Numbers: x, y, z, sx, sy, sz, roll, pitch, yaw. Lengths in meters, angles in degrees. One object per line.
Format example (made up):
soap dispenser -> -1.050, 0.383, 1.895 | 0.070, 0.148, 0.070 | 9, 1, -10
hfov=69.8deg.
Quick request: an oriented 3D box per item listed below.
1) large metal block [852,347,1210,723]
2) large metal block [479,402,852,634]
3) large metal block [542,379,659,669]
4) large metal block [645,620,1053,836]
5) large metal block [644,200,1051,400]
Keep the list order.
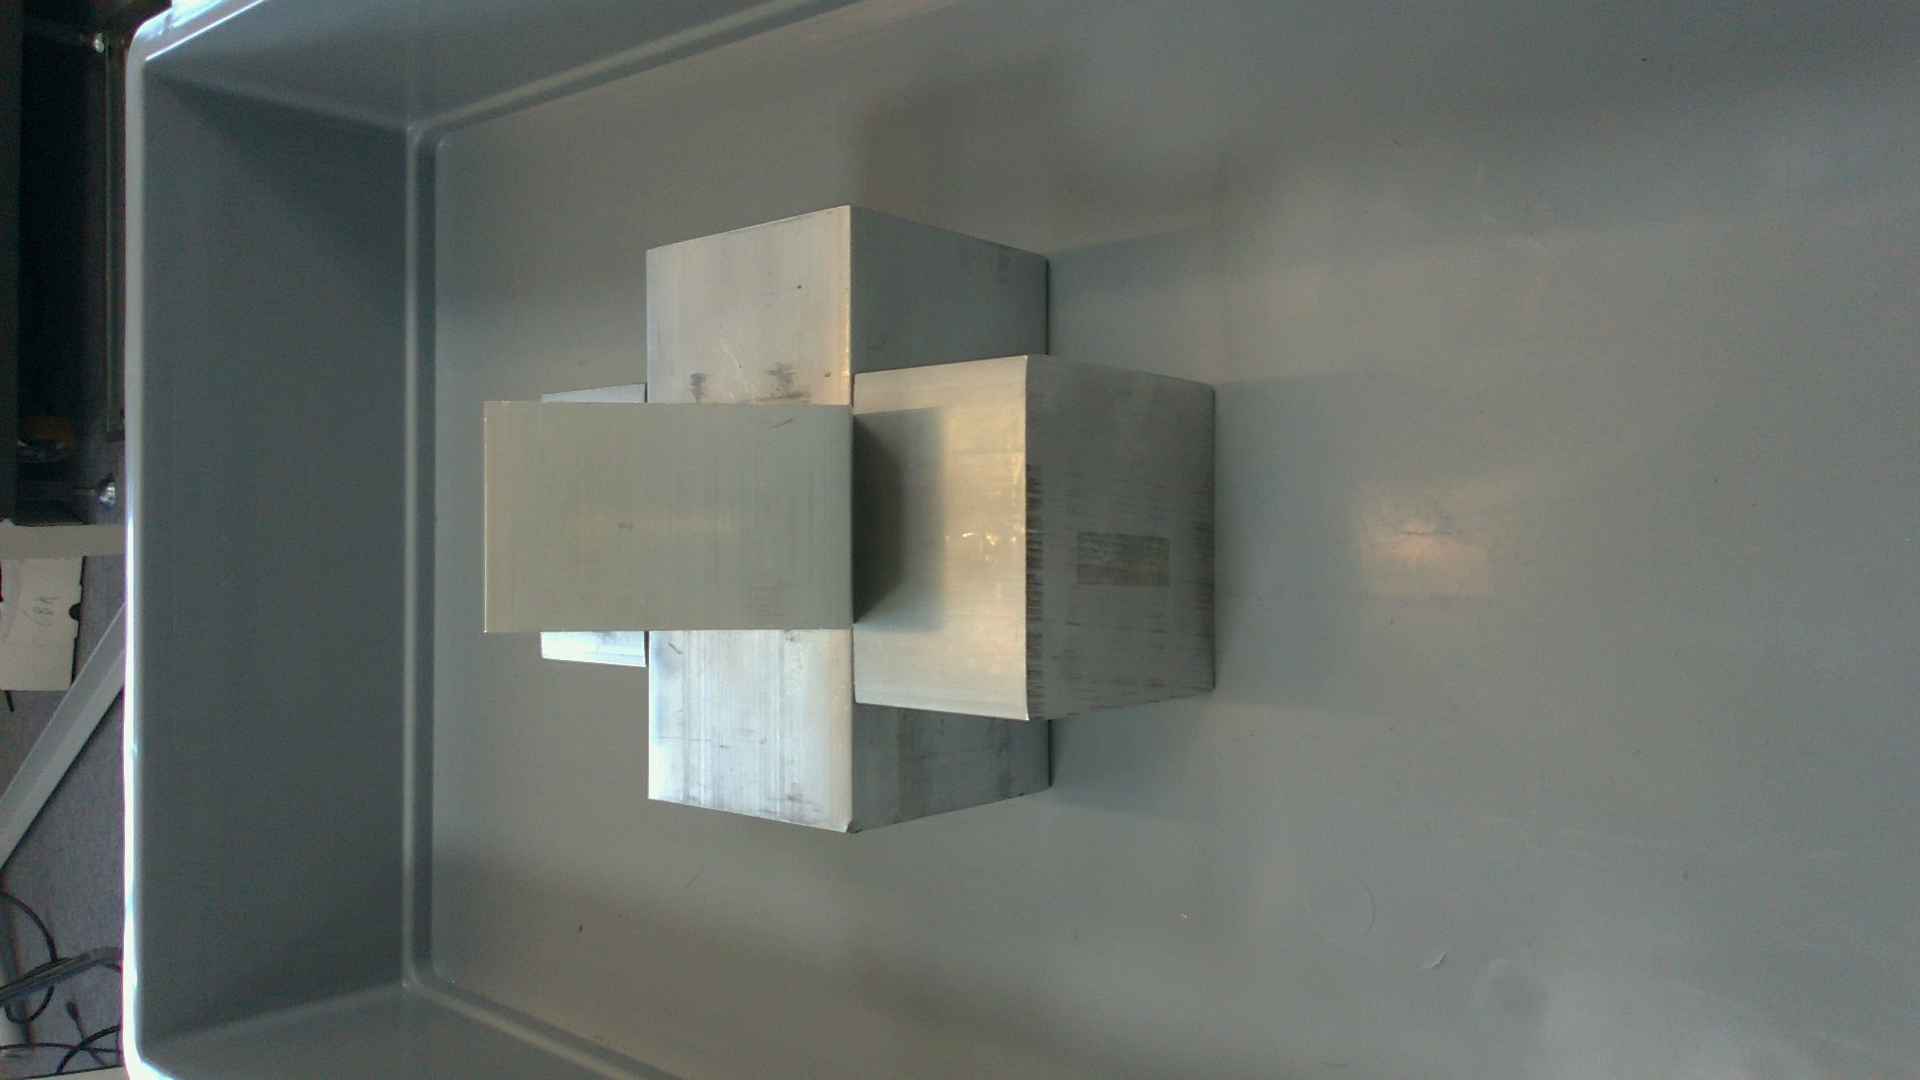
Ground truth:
large metal block -> 0.019, -0.001, 0.339 | 0.050, 0.080, 0.080 | 0, 90, 40
large metal block -> -0.067, -0.005, 0.340 | 0.080, 0.080, 0.050 | 0, 90, -5
large metal block -> -0.080, -0.004, 0.426 | 0.050, 0.080, 0.080 | 0, 90, 40
large metal block -> -0.030, 0.045, 0.383 | 0.080, 0.080, 0.050 | 0, 90, 40
large metal block -> -0.031, -0.056, 0.384 | 0.080, 0.080, 0.050 | 0, 90, 40
